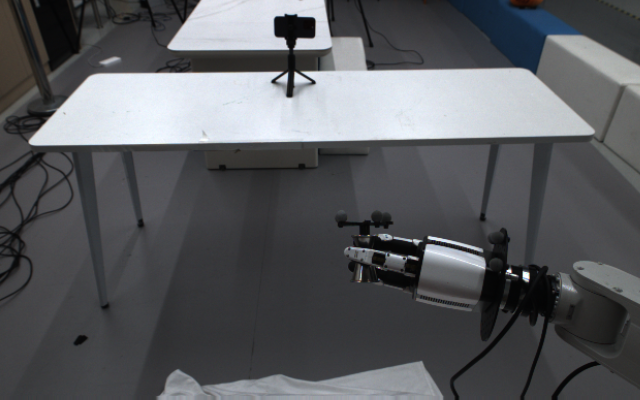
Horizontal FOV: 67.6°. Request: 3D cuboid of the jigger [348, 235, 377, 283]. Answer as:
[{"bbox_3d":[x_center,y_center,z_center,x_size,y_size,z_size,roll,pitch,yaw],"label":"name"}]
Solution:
[{"bbox_3d":[0.065,0.085,0.712,0.043,0.071,0.043,1,-5,0],"label":"jigger"}]
